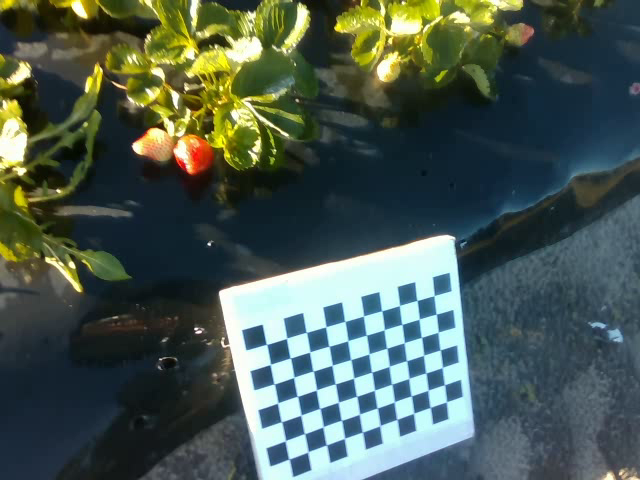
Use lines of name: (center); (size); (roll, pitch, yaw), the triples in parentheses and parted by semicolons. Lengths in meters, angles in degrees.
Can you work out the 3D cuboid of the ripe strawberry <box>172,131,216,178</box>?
ripe strawberry: (-0.118, -0.078, 0.589); (0.040, 0.038, 0.056); (-22, 22, 10)
